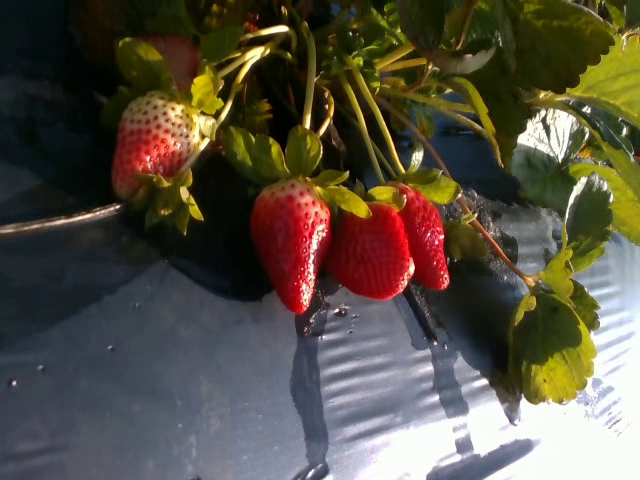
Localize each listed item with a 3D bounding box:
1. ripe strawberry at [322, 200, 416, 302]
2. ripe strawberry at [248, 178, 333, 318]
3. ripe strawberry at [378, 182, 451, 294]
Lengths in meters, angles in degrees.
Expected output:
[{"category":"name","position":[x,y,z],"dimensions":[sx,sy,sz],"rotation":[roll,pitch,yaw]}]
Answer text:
[{"category":"ripe strawberry","position":[0.019,0.003,0.217],"dimensions":[0.030,0.037,0.039],"rotation":[17,21,-41]},{"category":"ripe strawberry","position":[-0.007,0.002,0.203],"dimensions":[0.031,0.046,0.023],"rotation":[3,-10,-41]},{"category":"ripe strawberry","position":[0.038,0.004,0.239],"dimensions":[0.035,0.041,0.034],"rotation":[-2,-43,-41]}]
